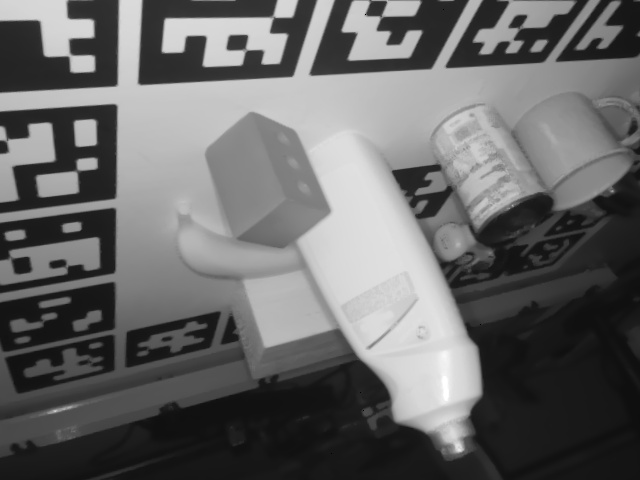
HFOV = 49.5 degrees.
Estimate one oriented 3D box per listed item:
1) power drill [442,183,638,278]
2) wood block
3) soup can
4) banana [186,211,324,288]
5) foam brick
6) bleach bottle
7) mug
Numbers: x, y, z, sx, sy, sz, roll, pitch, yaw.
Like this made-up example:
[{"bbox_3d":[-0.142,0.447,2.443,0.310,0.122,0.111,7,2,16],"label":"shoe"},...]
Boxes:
[{"bbox_3d":[0.251,-0.024,0.776,0.187,0.057,0.184,17,133,-43],"label":"power drill"},{"bbox_3d":[0.022,0.071,0.735,0.209,0.091,0.088,-9,146,-22],"label":"wood block"},{"bbox_3d":[0.149,-0.059,0.589,0.068,0.102,0.067,-15,152,-7],"label":"soup can"},{"bbox_3d":[-0.040,0.013,0.647,0.200,0.039,0.073,4,127,-34],"label":"banana"},{"bbox_3d":[-0.043,-0.056,0.508,0.050,0.078,0.053,-36,149,26],"label":"foam brick"},{"bbox_3d":[0.048,0.030,0.529,0.069,0.251,0.101,14,135,-46],"label":"bleach bottle"},{"bbox_3d":[0.245,-0.088,0.636,0.116,0.081,0.094,-36,145,16],"label":"mug"}]
